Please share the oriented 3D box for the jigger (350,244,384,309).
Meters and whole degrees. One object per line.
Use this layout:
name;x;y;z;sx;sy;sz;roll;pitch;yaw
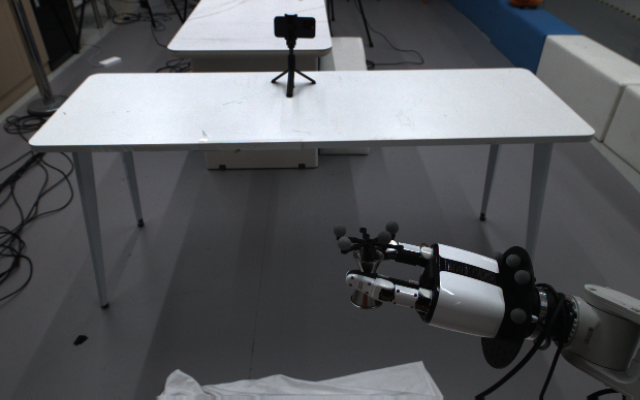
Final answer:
jigger;0.062;0.101;0.634;0.043;0.071;0.043;0;21;0
